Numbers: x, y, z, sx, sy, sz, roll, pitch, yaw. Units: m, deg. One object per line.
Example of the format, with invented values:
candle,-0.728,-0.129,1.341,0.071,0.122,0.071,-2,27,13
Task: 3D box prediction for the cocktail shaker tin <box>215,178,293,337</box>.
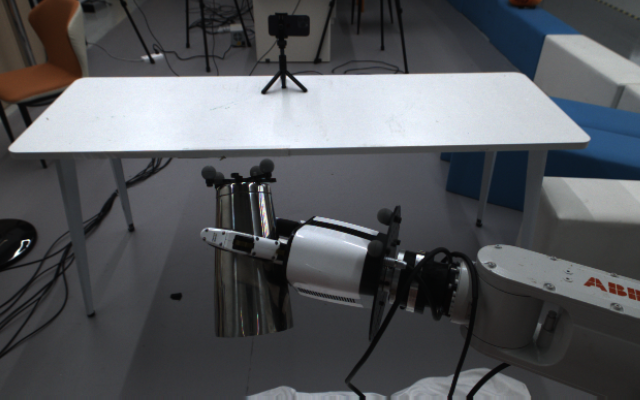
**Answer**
cocktail shaker tin,-0.084,0.070,0.576,0.093,0.170,0.093,-6,-7,-1
